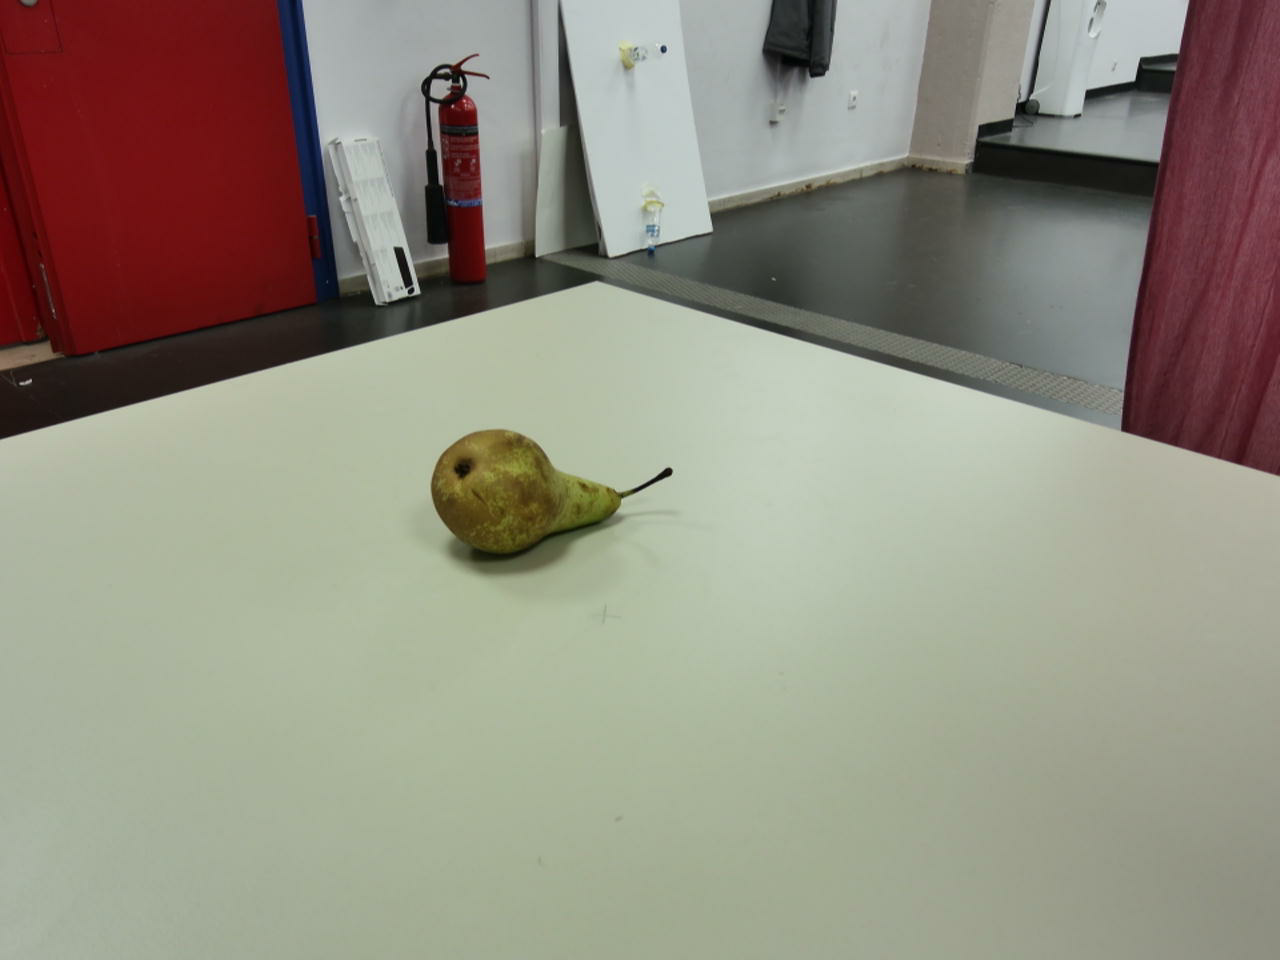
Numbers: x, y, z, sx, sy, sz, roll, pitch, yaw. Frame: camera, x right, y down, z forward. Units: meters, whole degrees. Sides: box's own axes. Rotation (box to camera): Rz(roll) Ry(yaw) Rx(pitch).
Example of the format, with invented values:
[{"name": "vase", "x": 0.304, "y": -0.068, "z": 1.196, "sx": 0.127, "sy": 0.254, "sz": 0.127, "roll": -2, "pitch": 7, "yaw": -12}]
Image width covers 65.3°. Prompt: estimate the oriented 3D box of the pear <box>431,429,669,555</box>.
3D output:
[{"name": "pear", "x": -0.057, "y": -0.002, "z": 0.606, "sx": 0.144, "sy": 0.075, "sz": 0.072, "roll": -21, "pitch": 32, "yaw": -36}]
